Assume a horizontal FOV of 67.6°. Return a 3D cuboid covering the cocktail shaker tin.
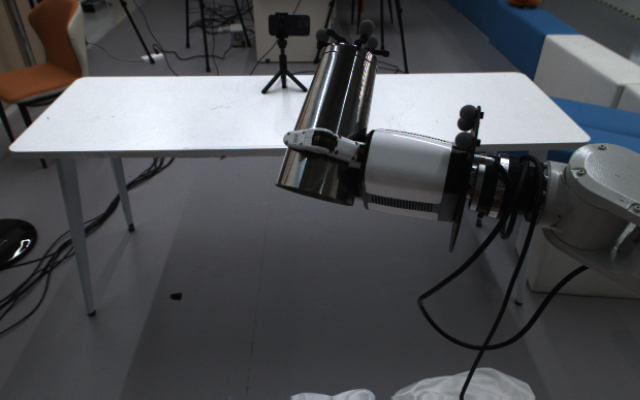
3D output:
[{"bbox_3d":[0.015,-0.086,0.560,0.093,0.170,0.093,15,-4,1],"label":"cocktail shaker tin"}]
